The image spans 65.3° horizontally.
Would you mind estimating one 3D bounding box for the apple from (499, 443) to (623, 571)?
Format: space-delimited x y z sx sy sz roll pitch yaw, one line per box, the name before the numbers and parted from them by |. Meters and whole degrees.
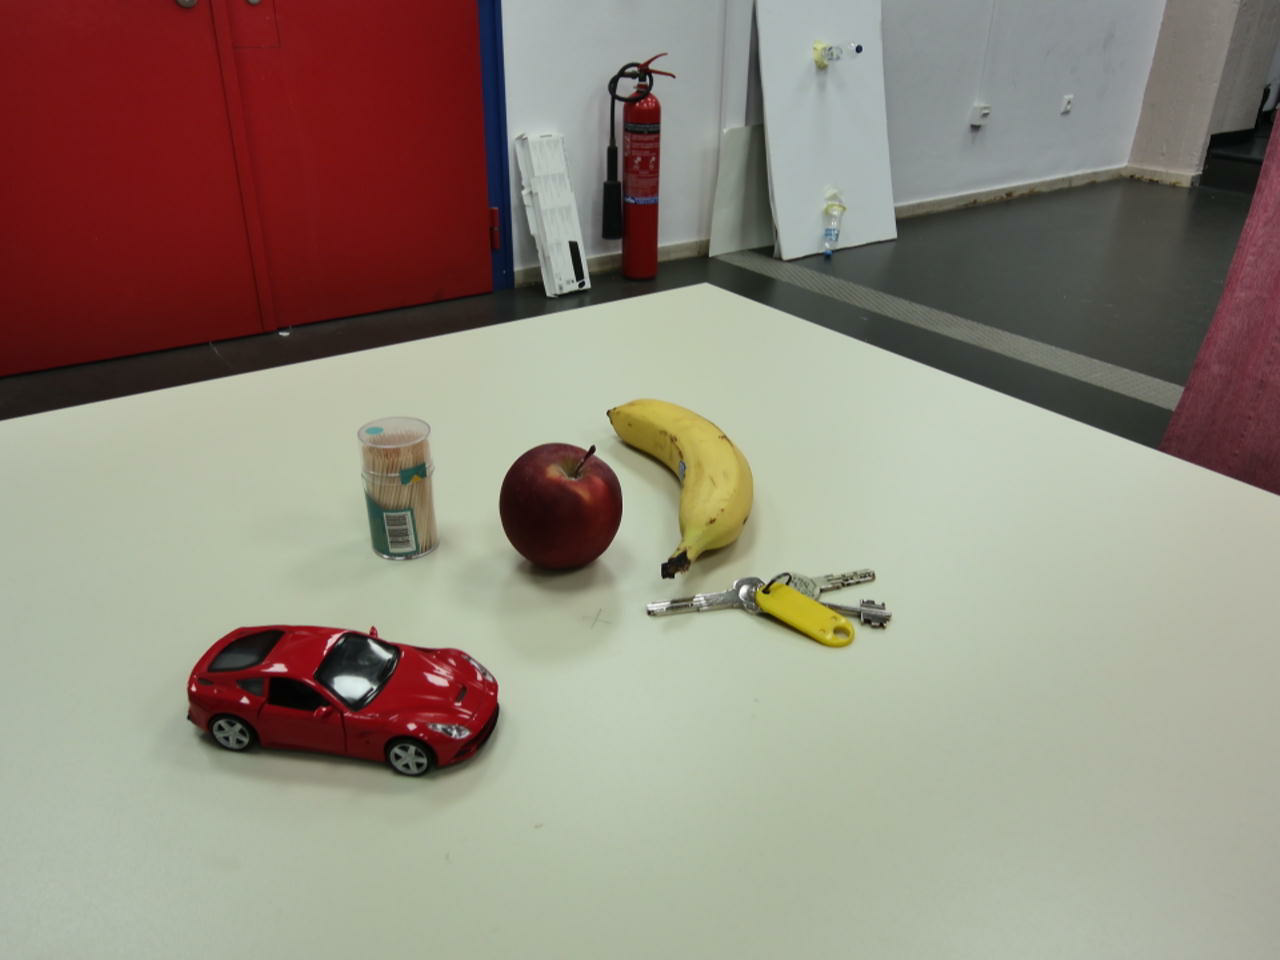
apple | -0.044 0.015 0.562 0.070 0.072 0.070 1 26 0
